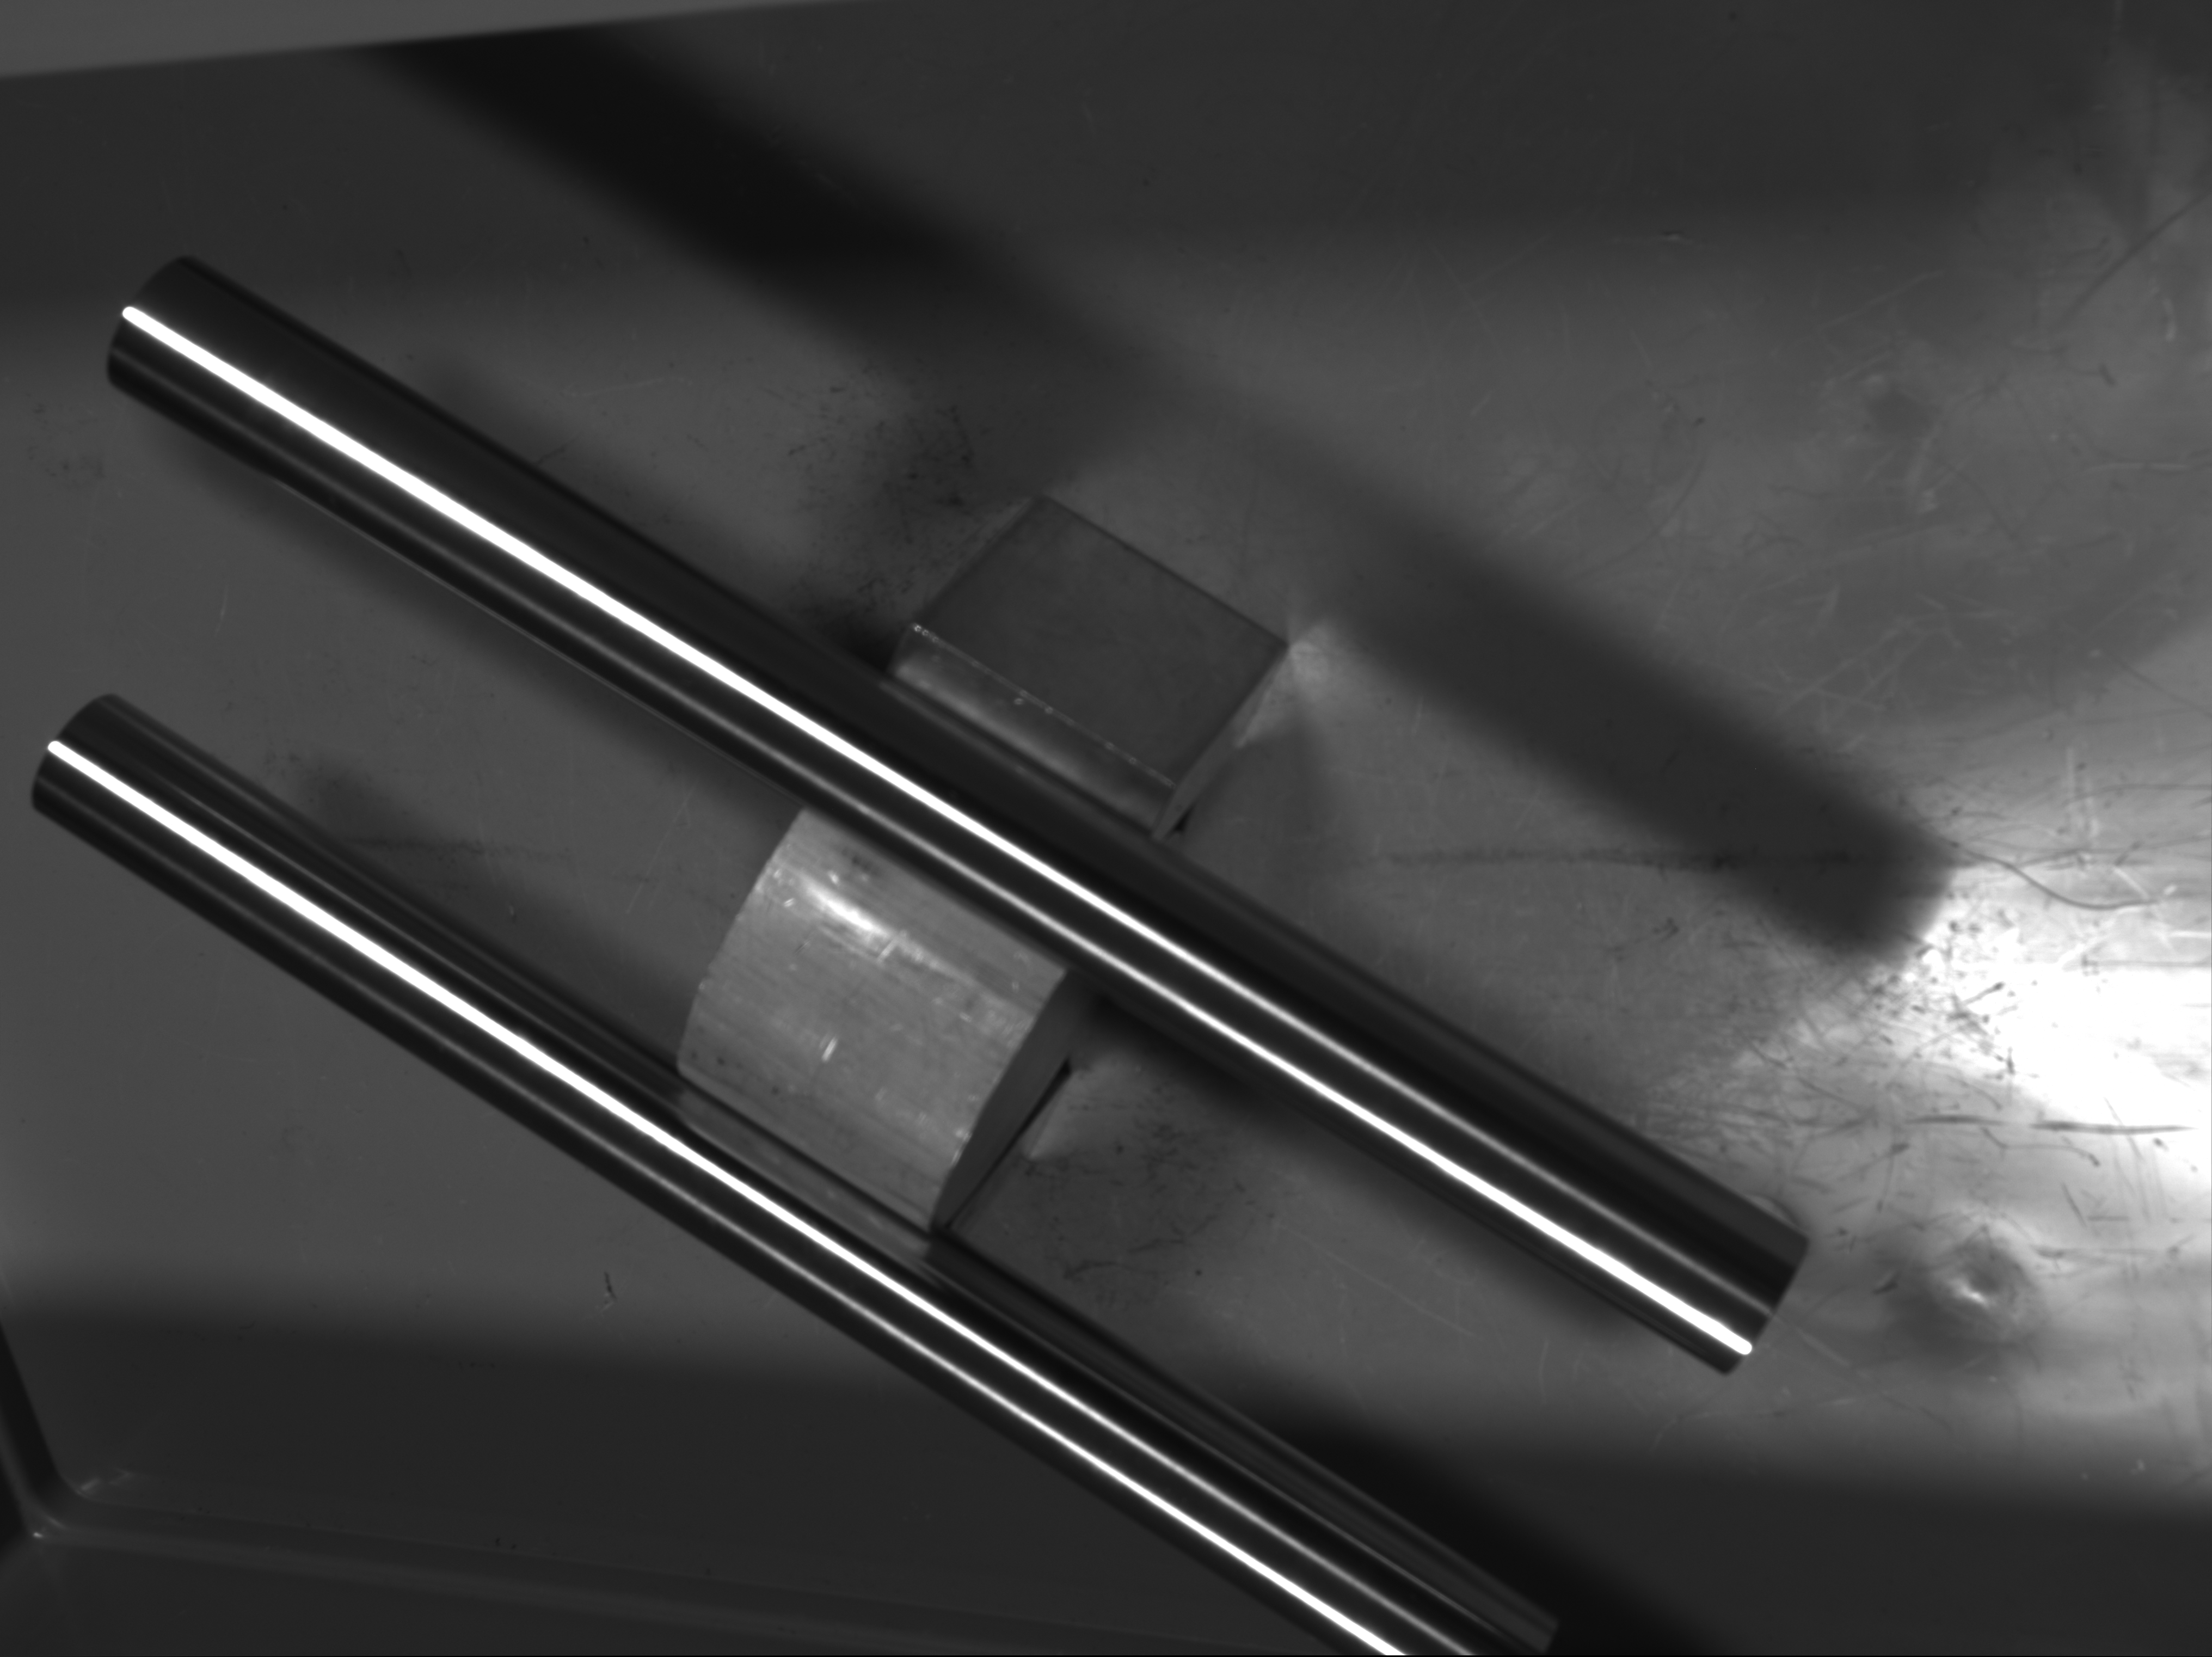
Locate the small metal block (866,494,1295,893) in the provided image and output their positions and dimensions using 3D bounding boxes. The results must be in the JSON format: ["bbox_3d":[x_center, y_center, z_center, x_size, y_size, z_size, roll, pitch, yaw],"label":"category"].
[{"bbox_3d":[-0.004,-0.023,0.602,0.050,0.050,0.025,32,128,6],"label":"small metal block"}]

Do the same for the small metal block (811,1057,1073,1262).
[{"bbox_3d":[-0.042,0.053,0.666,0.050,0.050,0.025,32,128,6],"label":"small metal block"}]

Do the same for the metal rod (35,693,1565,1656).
[{"bbox_3d":[-0.056,0.065,0.635,0.300,0.025,0.025,32,128,7],"label":"metal rod"}]

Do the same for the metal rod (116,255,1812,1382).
[{"bbox_3d":[-0.025,-0.004,0.577,0.300,0.025,0.025,32,128,6],"label":"metal rod"}]

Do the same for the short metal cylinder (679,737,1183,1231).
[{"bbox_3d":[-0.029,0.022,0.622,0.050,0.080,0.080,32,128,7],"label":"short metal cylinder"}]
